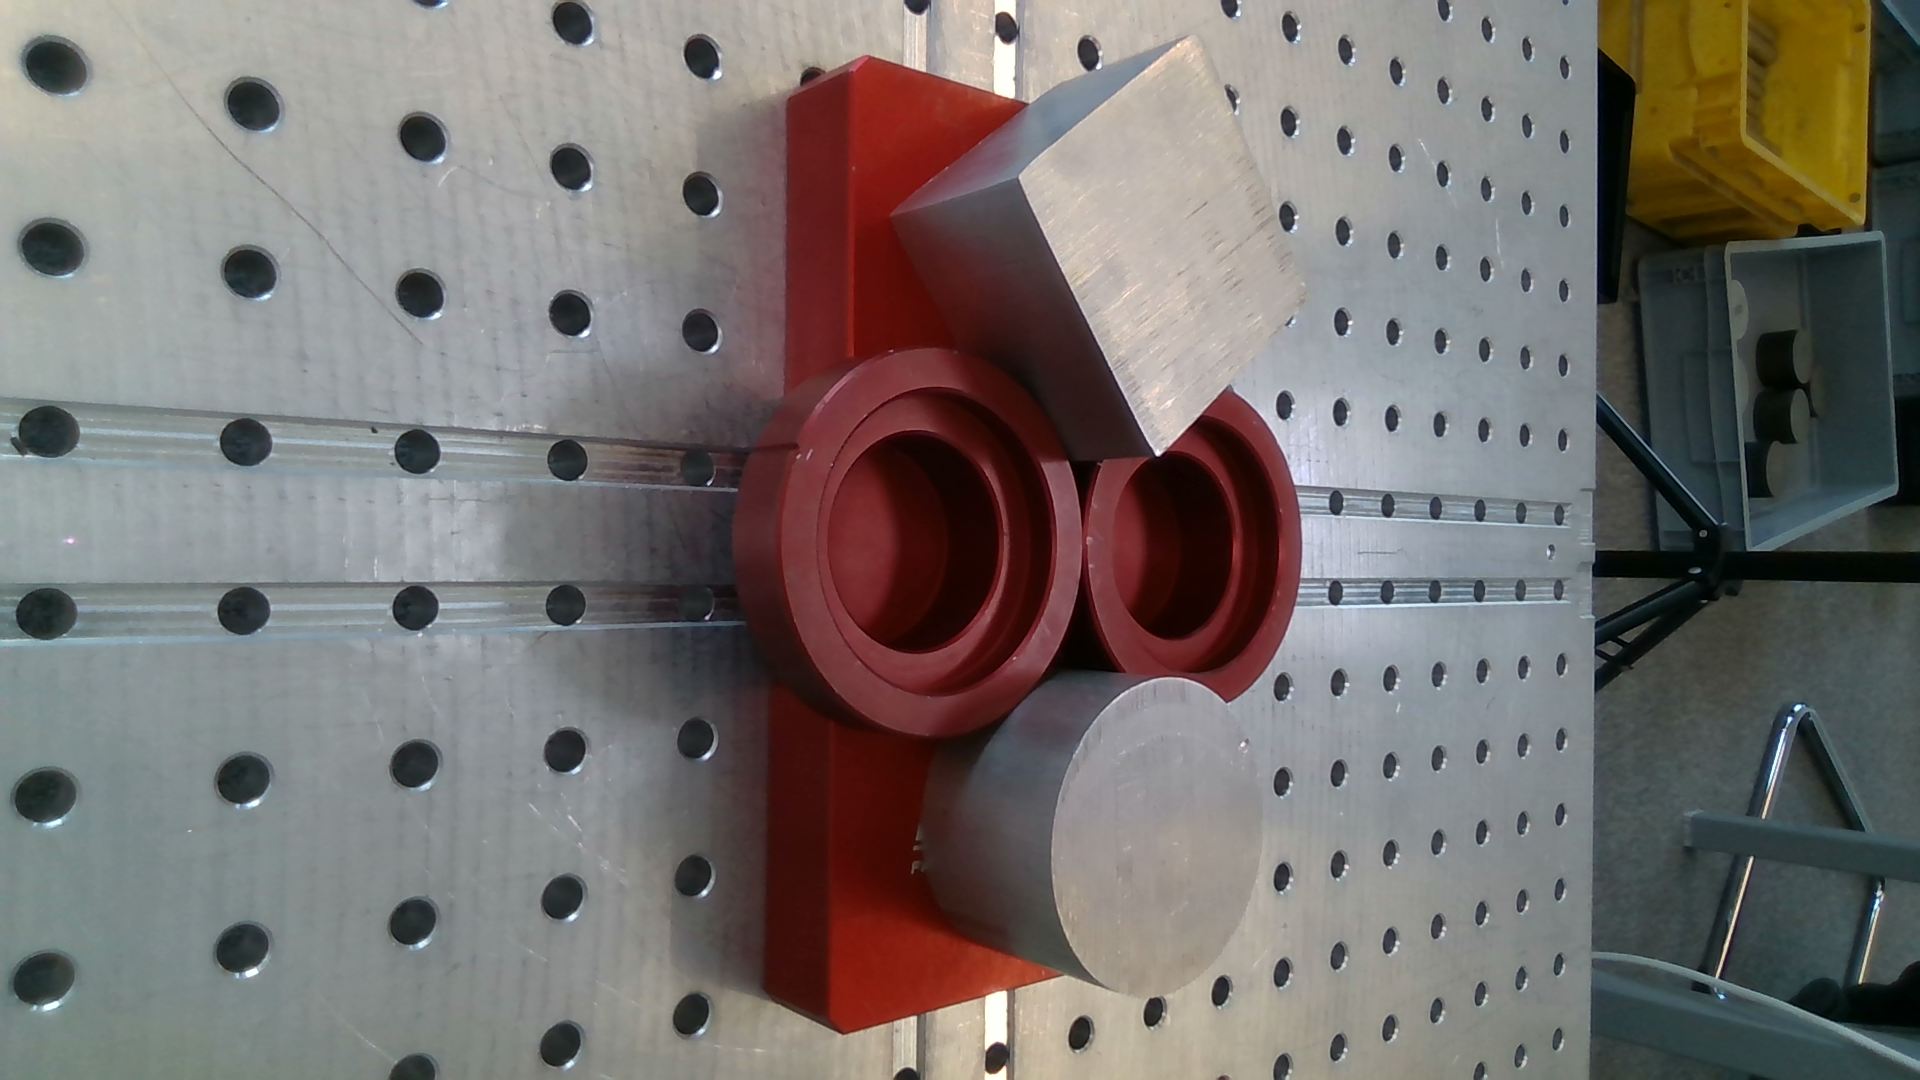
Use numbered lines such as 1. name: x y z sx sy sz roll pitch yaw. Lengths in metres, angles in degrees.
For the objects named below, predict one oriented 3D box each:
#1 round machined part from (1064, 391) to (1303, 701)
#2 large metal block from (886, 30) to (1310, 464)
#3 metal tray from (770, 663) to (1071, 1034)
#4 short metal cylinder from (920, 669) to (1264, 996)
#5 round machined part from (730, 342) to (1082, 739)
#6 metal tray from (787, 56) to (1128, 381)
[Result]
1. round machined part: 0.058 0.002 0.420 0.098 0.042 0.098 0 90 -40
2. large metal block: 0.040 -0.076 0.372 0.080 0.050 0.080 -44 117 -31
3. metal tray: 0.009 0.080 0.396 0.130 0.030 0.090 1 90 -40
4. short metal cylinder: 0.036 0.075 0.368 0.080 0.050 0.080 0 90 -40
5. round machined part: -0.017 0.000 0.357 0.098 0.042 0.098 0 90 -40
6. metal tray: 0.013 -0.078 0.401 0.130 0.030 0.090 1 91 -40
